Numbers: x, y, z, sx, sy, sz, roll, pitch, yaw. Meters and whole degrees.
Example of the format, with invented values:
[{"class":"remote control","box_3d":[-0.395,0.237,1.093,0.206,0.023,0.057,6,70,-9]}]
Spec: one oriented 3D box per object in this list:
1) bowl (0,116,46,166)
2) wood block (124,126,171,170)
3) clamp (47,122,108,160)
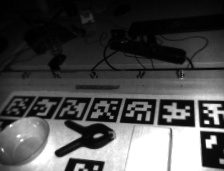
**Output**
[{"class":"bowl","box_3d":[-0.259,0.170,0.628,0.161,0.056,0.161,-7,46,8]},{"class":"wood block","box_3d":[0.072,0.201,0.461,0.089,0.092,0.206,3,46,19]},{"class":"clamp","box_3d":[-0.094,0.149,0.618,0.164,0.037,0.121,-6,43,8]}]
